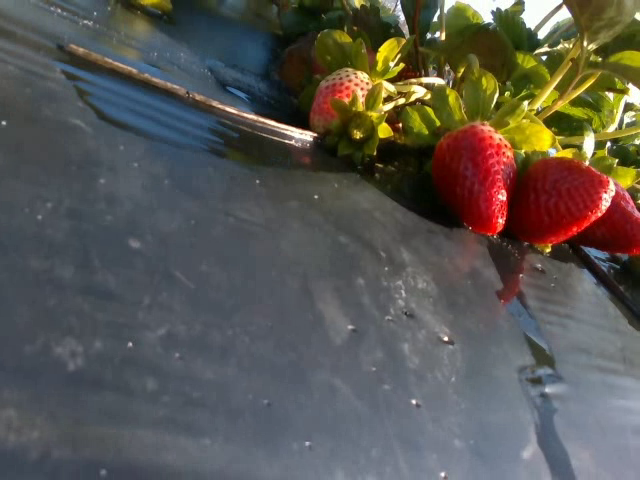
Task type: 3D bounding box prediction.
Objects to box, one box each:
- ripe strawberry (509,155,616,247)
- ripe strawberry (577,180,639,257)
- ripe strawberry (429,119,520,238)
[{"bbox_3d":[0.082,-0.016,0.198,0.031,0.037,0.039,27,-5,-17],"label":"ripe strawberry"},{"bbox_3d":[0.105,-0.006,0.212,0.035,0.034,0.041,14,13,-24],"label":"ripe strawberry"},{"bbox_3d":[0.053,-0.020,0.192,0.032,0.046,0.023,17,-42,-23],"label":"ripe strawberry"}]
